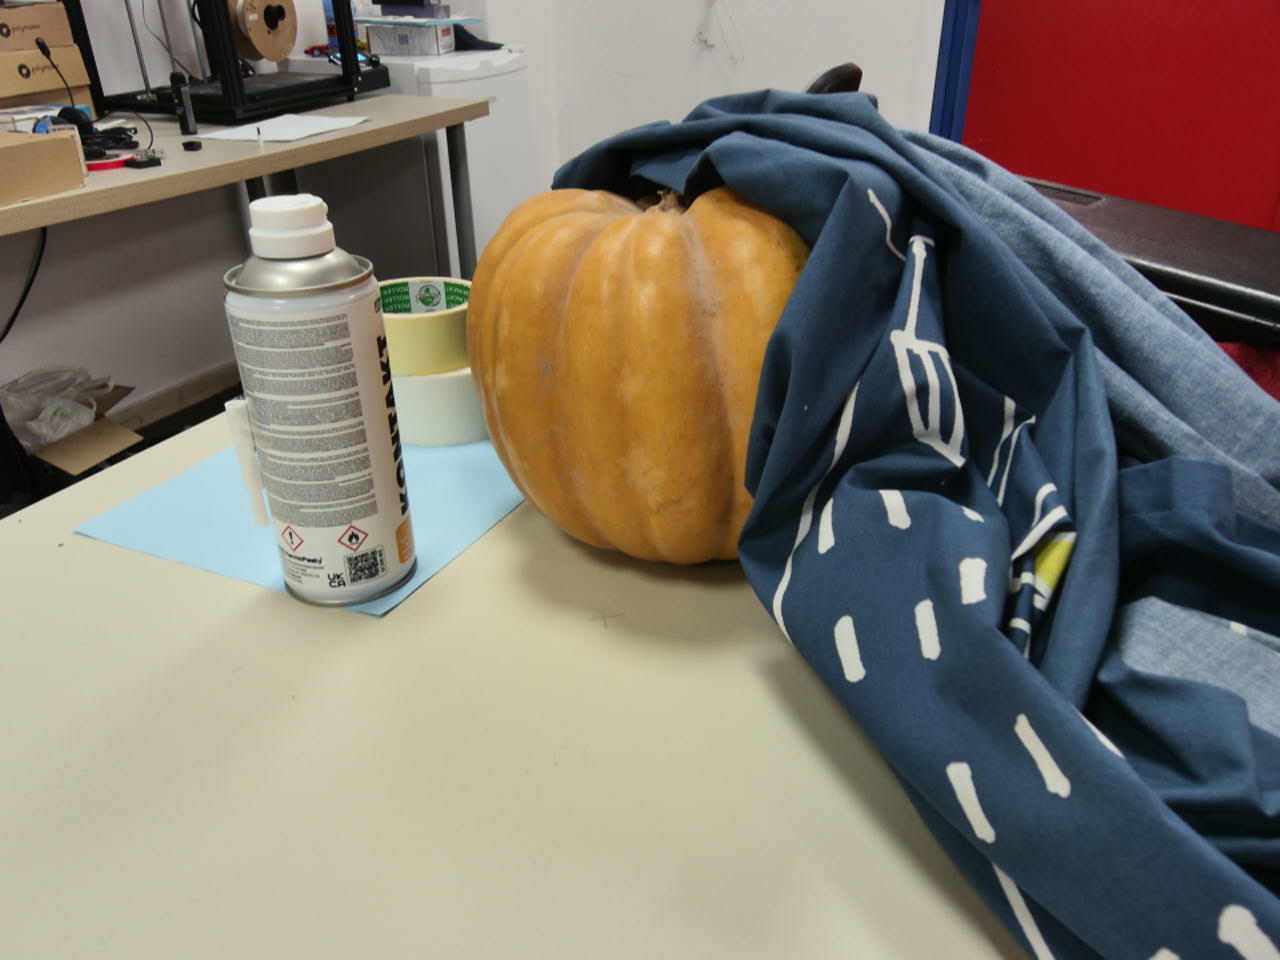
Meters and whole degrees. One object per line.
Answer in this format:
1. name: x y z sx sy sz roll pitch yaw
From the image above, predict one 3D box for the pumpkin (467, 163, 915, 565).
1. pumpkin: 0.027 -0.062 0.513 0.230 0.194 0.230 0 25 0
